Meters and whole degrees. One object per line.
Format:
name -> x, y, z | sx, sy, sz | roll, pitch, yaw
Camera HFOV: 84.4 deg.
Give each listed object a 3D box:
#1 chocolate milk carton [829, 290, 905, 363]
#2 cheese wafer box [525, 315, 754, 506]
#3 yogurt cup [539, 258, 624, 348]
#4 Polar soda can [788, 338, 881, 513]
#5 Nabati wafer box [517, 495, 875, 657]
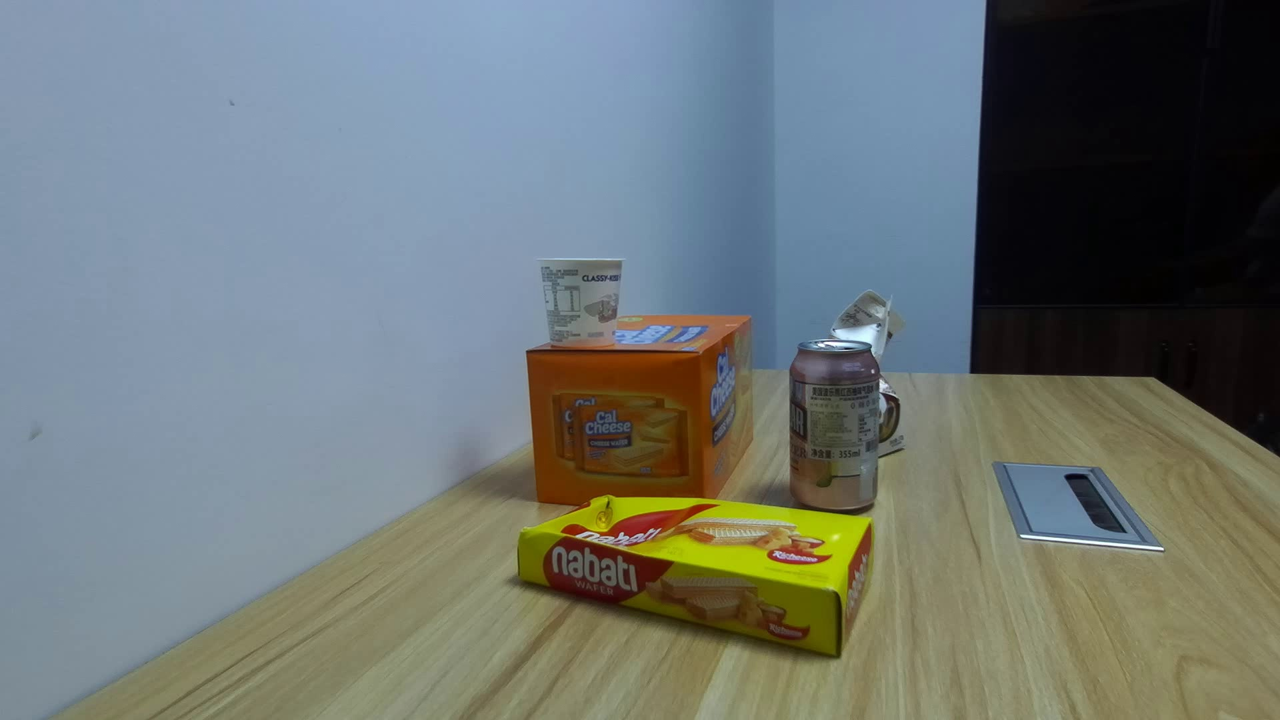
chocolate milk carton -> 0.211, 0.015, 0.666 | 0.090, 0.155, 0.076 | 8, 7, -37
cheese wafer box -> 0.013, 0.037, 0.643 | 0.148, 0.129, 0.222 | 1, 10, 18
yogurt cup -> -0.047, -0.047, 0.570 | 0.072, 0.068, 0.072 | 0, 9, 0
Polar soda can -> 0.148, 0.049, 0.539 | 0.067, 0.125, 0.067 | -3, 9, 1
Nabati wafer box -> 0.031, 0.116, 0.429 | 0.202, 0.042, 0.097 | 2, 13, 30
